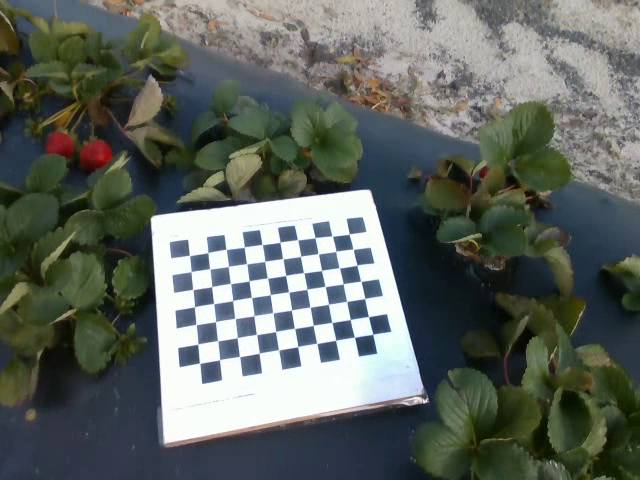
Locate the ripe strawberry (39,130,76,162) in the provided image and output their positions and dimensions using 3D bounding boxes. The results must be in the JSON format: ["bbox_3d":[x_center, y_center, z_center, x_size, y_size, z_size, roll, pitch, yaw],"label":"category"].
[{"bbox_3d":[-0.415,-0.145,0.912,0.048,0.041,0.056,6,36,-4],"label":"ripe strawberry"}]

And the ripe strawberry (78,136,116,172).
[{"bbox_3d":[-0.354,-0.134,0.907,0.057,0.051,0.064,-25,34,-21],"label":"ripe strawberry"}]
